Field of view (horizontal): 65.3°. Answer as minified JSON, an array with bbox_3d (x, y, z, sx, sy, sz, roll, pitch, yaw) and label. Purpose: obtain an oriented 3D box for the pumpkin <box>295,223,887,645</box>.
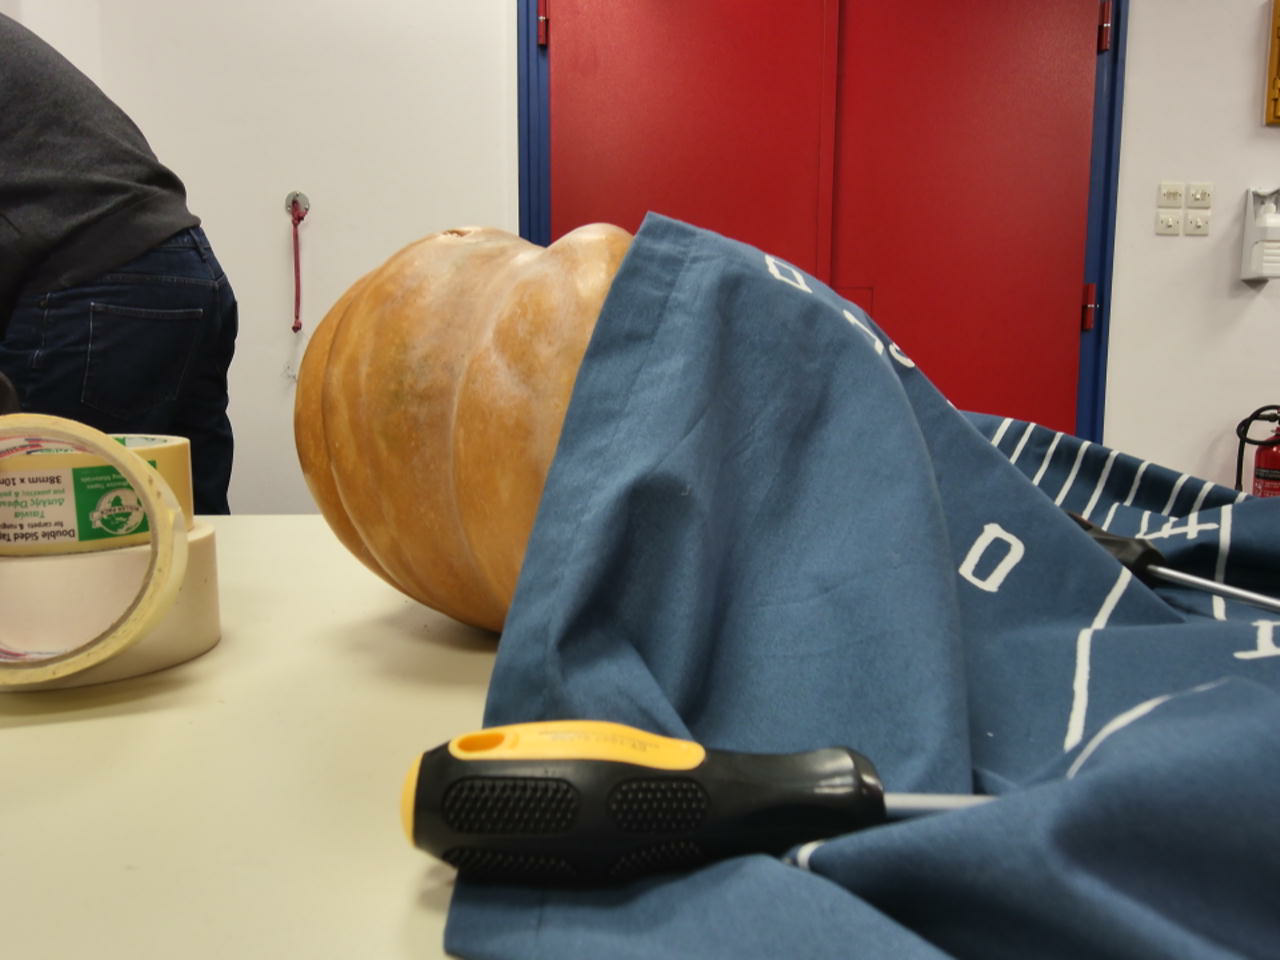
[{"bbox_3d":[-0.019,-0.024,0.463,0.277,0.181,0.277,0,5,0],"label":"pumpkin"}]
